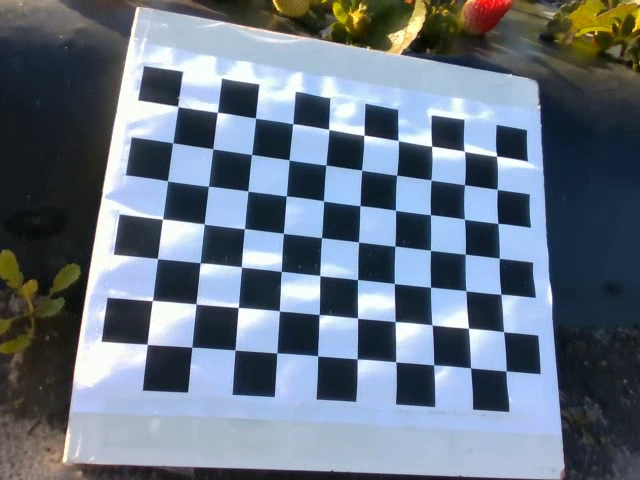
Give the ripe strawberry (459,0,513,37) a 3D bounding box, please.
[{"bbox_3d":[0.121,-0.165,0.421,0.042,0.037,0.045,-4,-16,-44],"label":"ripe strawberry"}]
